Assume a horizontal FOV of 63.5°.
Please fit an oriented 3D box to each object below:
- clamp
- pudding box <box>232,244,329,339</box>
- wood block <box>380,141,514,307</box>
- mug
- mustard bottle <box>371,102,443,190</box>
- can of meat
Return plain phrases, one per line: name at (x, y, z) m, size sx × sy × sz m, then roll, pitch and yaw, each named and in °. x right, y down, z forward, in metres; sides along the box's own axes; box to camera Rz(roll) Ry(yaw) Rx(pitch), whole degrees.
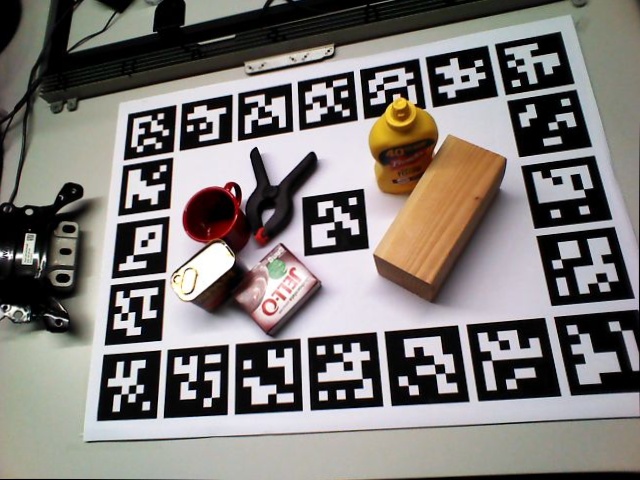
clamp at (-0.069, -0.079, 0.832) m, size 0.122 × 0.036 × 0.164 m, roll 12°, pitch 76°, yaw 16°
pudding box at (-0.057, 0.077, 0.768) m, size 0.113 × 0.038 × 0.090 m, roll -44°, pitch 67°, yaw -6°
wood block at (0.179, -0.024, 0.721) m, size 0.090 × 0.091 × 0.205 m, roll 30°, pitch 78°, yaw 23°
mug at (-0.148, -0.033, 0.831) m, size 0.094 × 0.081 × 0.116 m, roll 15°, pitch 76°, yaw 18°
mustard bottle at (0.122, -0.134, 0.715) m, size 0.096 × 0.191 × 0.058 m, roll -12°, pitch 69°, yaw 10°
can of meat at (-0.160, 0.060, 0.770) m, size 0.102 × 0.084 × 0.058 m, roll -36°, pitch 67°, yaw -1°
